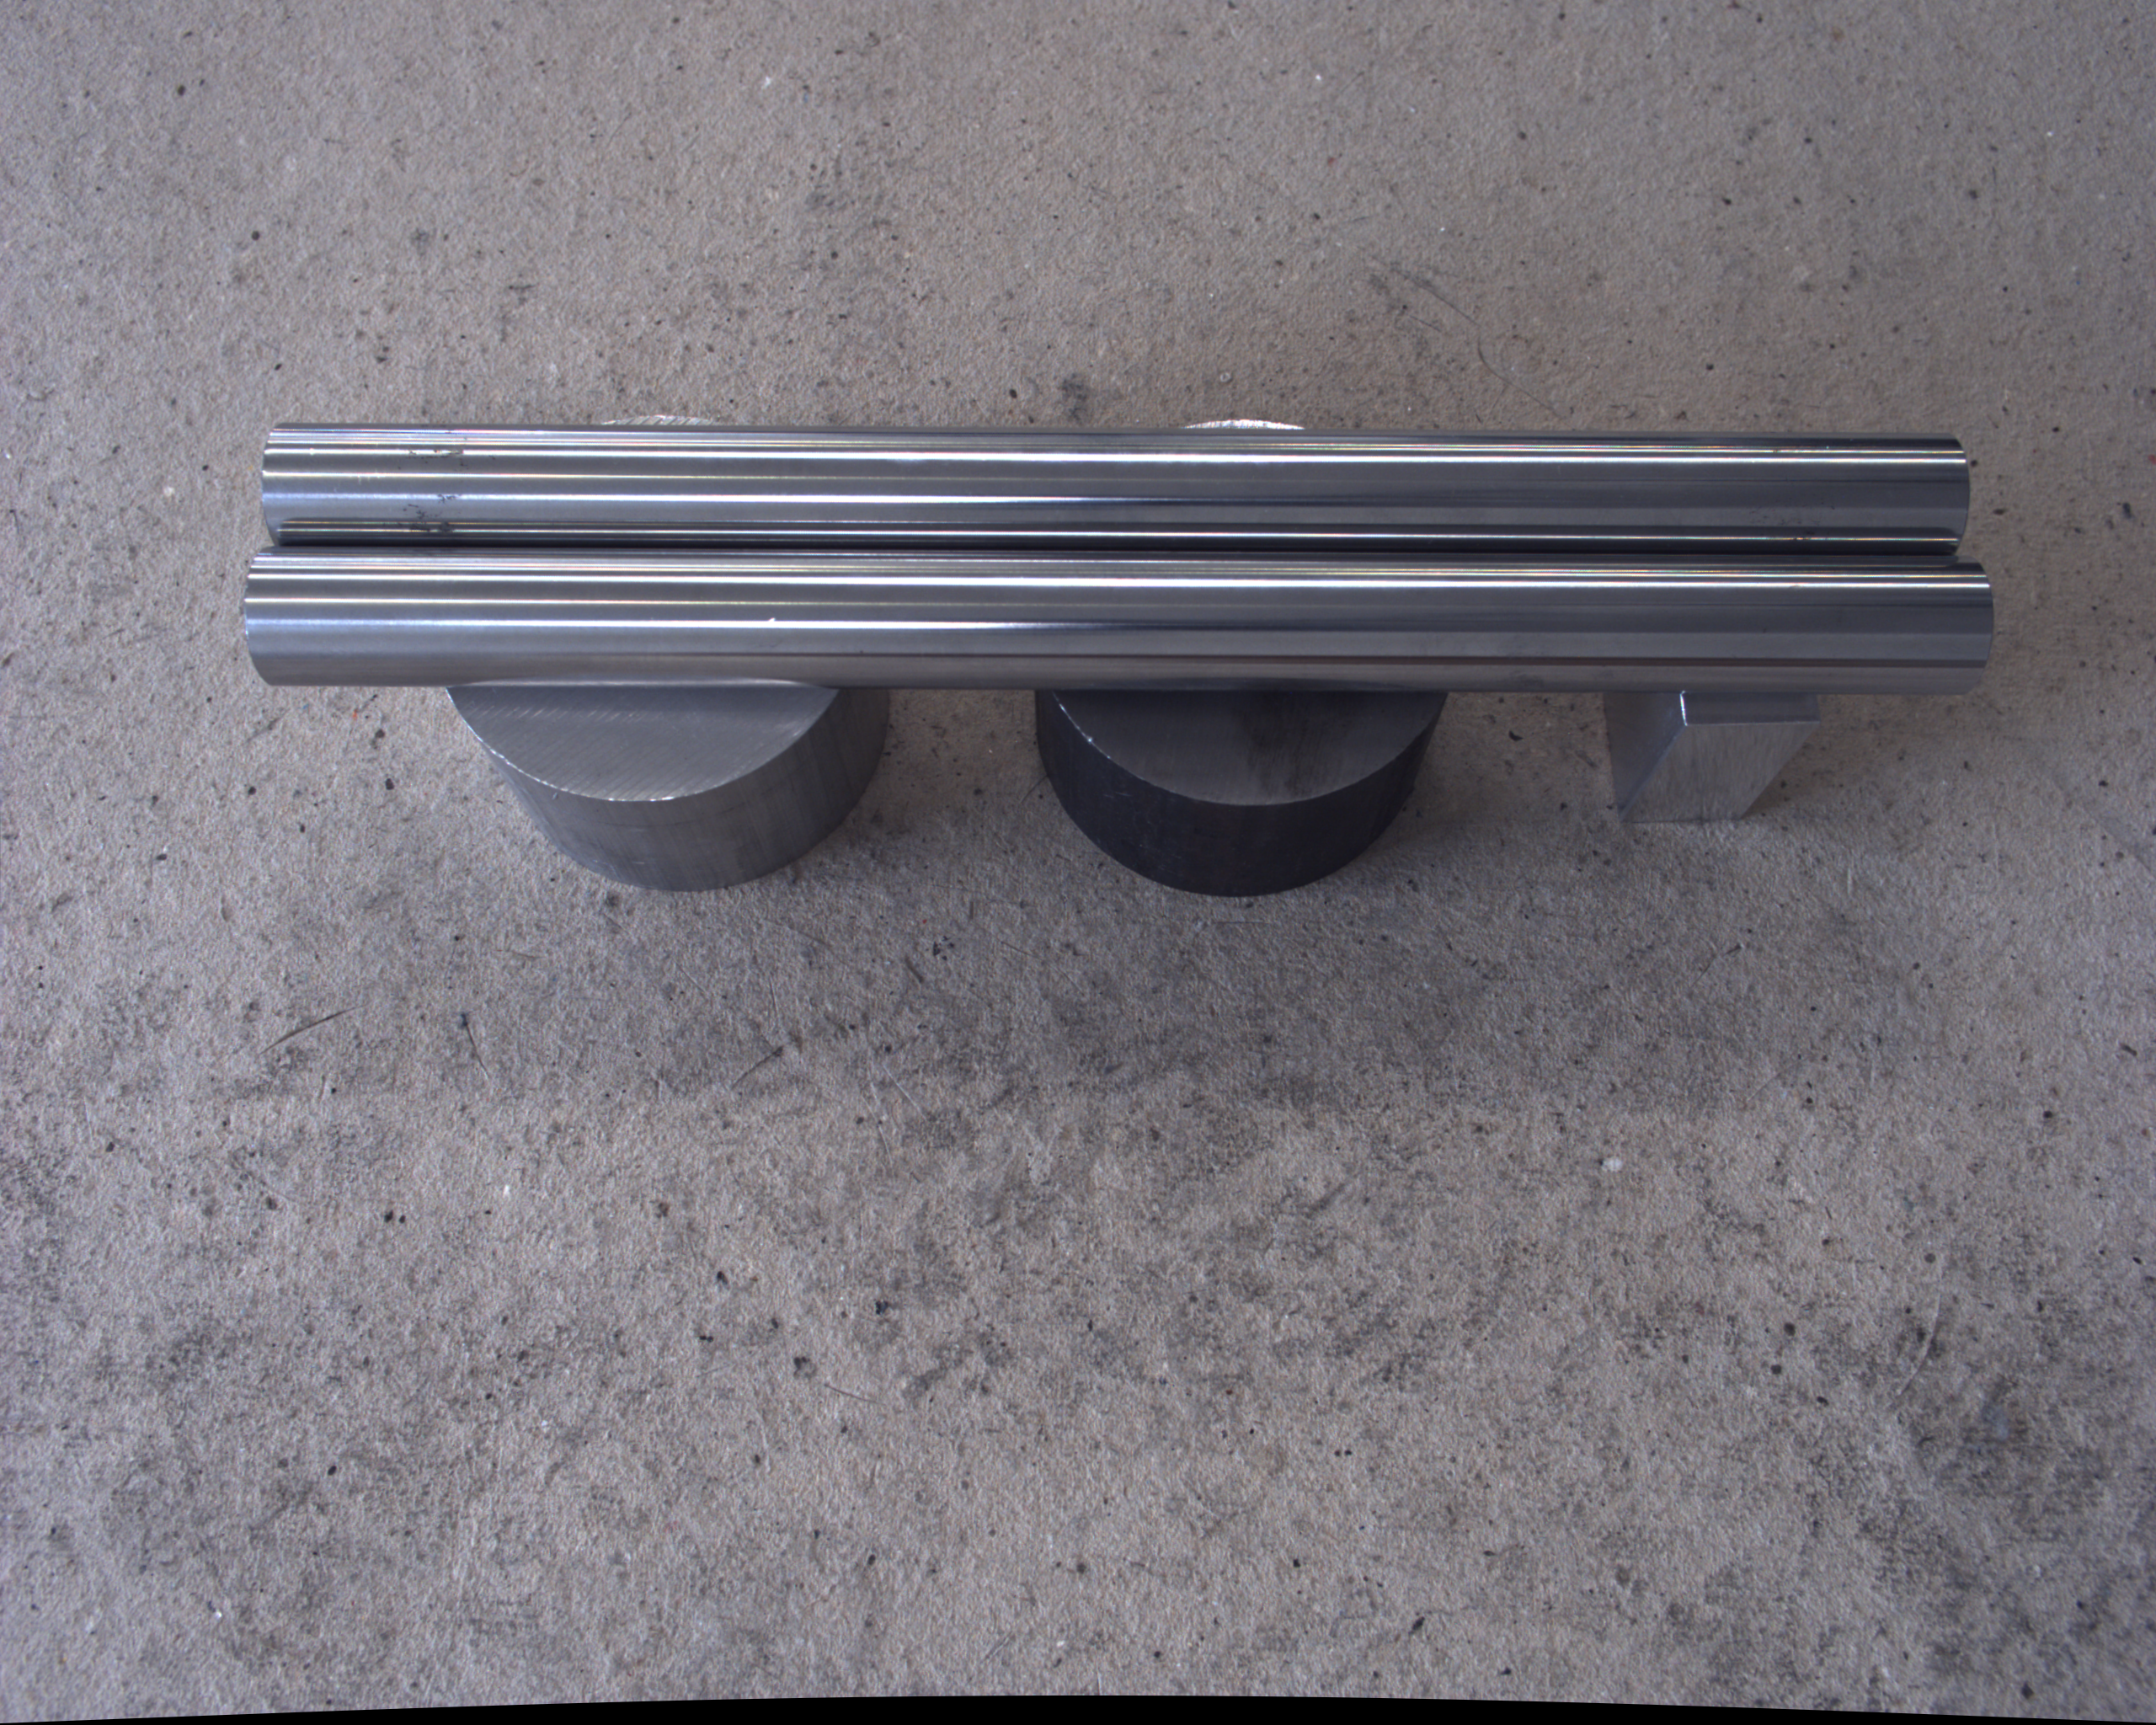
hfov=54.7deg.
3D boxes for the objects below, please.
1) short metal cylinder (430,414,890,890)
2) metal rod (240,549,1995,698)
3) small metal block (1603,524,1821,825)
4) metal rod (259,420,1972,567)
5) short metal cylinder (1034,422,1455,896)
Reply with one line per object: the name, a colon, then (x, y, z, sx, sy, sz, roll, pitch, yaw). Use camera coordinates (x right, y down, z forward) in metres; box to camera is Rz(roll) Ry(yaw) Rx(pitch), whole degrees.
short metal cylinder: (-0.079, -0.040, 0.409, 0.081, 0.050, 0.080, 0, 70, 0)
metal rod: (0.007, -0.042, 0.371, 0.302, 0.025, 0.025, 0, 70, 0)
small metal block: (0.122, -0.040, 0.413, 0.025, 0.050, 0.050, -1, 70, -1)
metal rod: (0.007, -0.067, 0.380, 0.302, 0.025, 0.025, 0, 70, 0)
short metal cylinder: (0.031, -0.039, 0.411, 0.081, 0.050, 0.080, 0, 70, 0)
